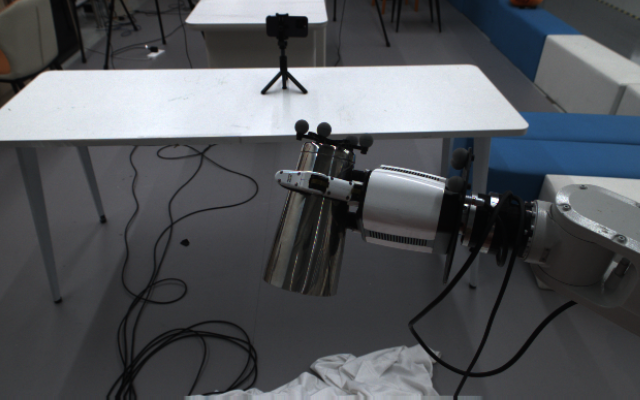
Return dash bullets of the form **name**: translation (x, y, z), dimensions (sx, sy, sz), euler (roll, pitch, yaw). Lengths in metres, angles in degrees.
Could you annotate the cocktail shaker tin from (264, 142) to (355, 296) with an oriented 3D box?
- **cocktail shaker tin**: translation (-0.003, 0.018, 0.587), dimensions (0.093, 0.170, 0.093), euler (13, 1, 0)
